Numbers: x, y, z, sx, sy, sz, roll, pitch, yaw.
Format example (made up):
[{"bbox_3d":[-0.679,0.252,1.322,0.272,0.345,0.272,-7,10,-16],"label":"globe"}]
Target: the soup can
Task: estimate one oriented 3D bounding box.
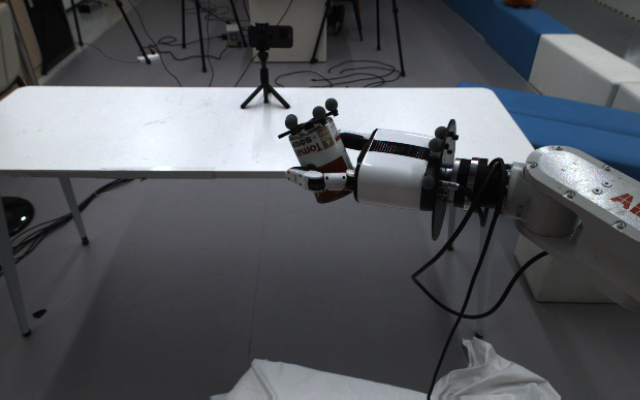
[{"bbox_3d":[0.008,-0.055,0.675,0.067,0.101,0.067,-23,16,7],"label":"soup can"}]
